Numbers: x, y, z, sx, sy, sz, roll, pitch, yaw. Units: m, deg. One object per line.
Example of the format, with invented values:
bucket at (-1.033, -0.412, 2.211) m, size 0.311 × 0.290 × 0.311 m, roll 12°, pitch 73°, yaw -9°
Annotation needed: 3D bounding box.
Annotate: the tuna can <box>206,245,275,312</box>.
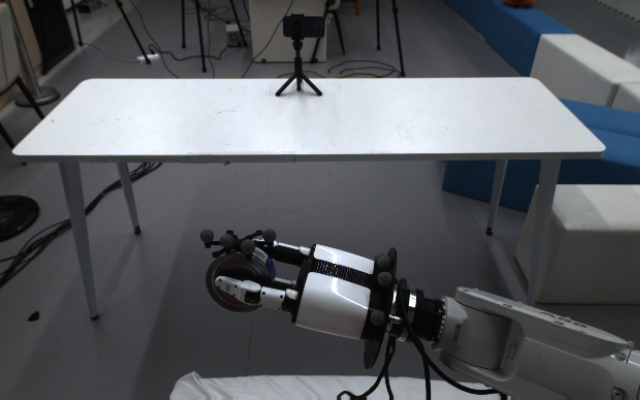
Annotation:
tuna can at (-0.099, 0.105, 0.624) m, size 0.085 × 0.085 × 0.034 m, roll 4°, pitch 18°, yaw 3°
